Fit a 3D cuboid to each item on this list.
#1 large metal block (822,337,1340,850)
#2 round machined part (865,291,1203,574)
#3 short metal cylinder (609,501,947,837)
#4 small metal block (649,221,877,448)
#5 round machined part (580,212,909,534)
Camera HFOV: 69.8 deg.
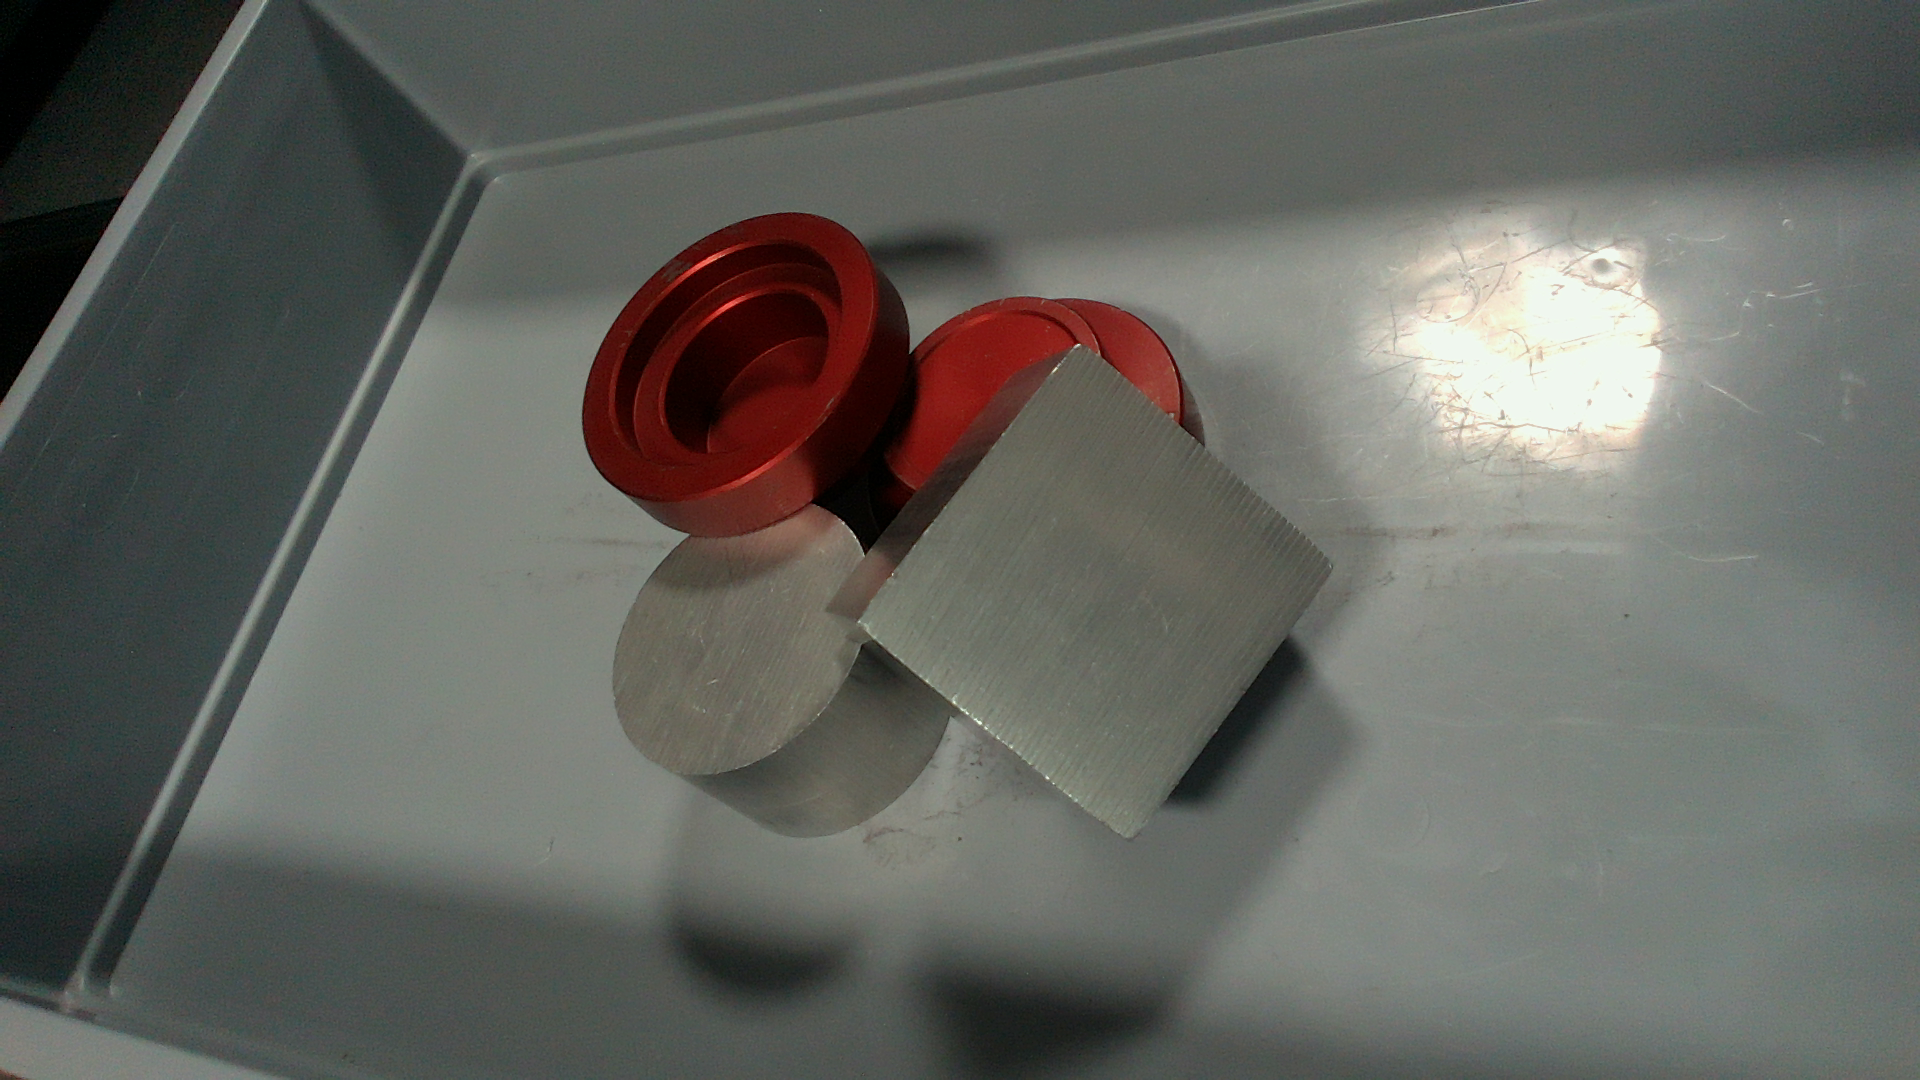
[{"bbox_3d":[0.027,0.012,0.326,0.080,0.080,0.050,-51,10,-9],"label":"large metal block"},{"bbox_3d":[0.016,-0.031,0.389,0.098,0.042,0.098,-13,56,21],"label":"round machined part"},{"bbox_3d":[-0.048,0.035,0.380,0.080,0.050,0.080,-14,56,21],"label":"short metal cylinder"},{"bbox_3d":[-0.064,-0.066,0.451,0.050,0.050,0.025,-40,51,2],"label":"small metal block"},{"bbox_3d":[-0.058,-0.044,0.402,0.098,0.042,0.098,-13,56,21],"label":"round machined part"}]
